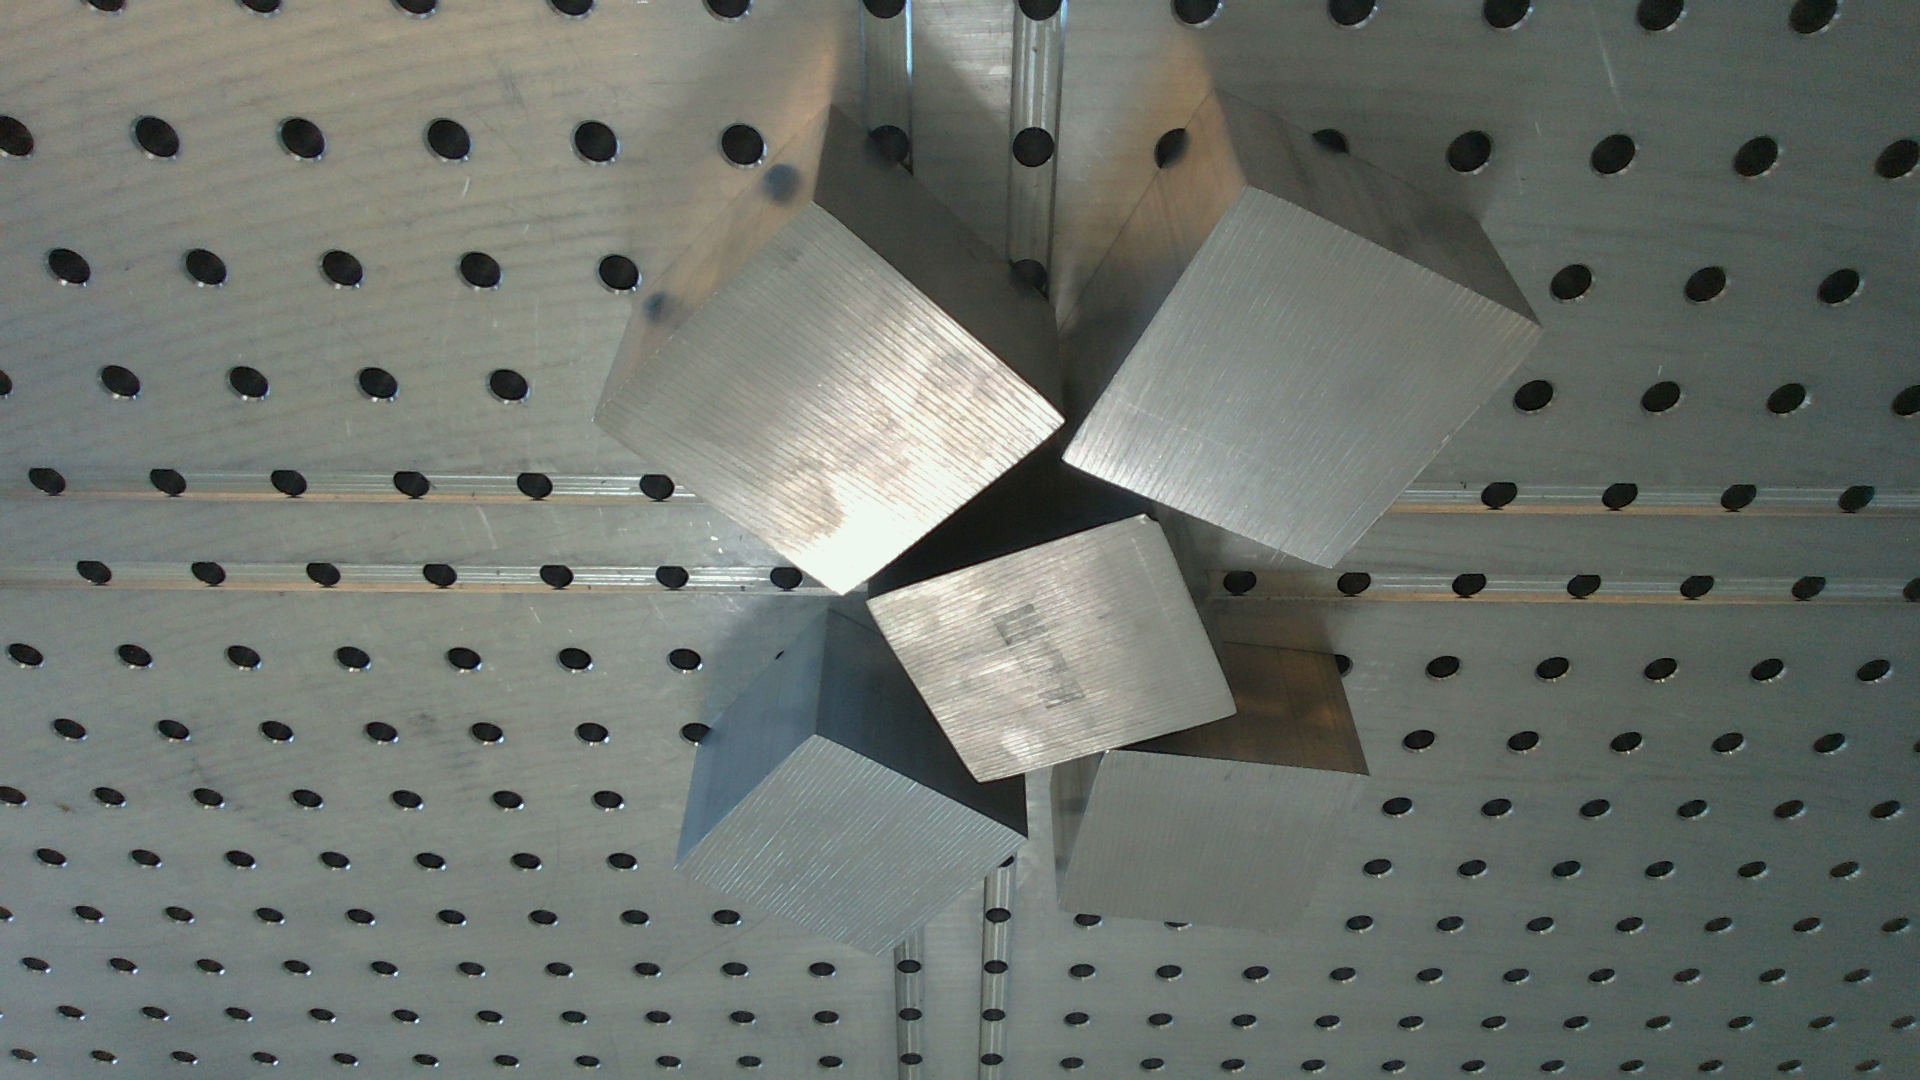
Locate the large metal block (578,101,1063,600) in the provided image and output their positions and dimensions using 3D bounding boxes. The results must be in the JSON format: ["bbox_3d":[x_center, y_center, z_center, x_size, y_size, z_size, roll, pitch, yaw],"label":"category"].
[{"bbox_3d":[-0.032,-0.044,0.340,0.080,0.050,0.080,-37,121,27],"label":"large metal block"}]

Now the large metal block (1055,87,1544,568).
[{"bbox_3d":[0.076,-0.049,0.335,0.080,0.050,0.080,18,128,-19],"label":"large metal block"}]

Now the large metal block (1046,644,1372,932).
[{"bbox_3d":[0.075,0.079,0.444,0.080,0.050,0.080,6,130,-6],"label":"large metal block"}]

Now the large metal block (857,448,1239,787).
[{"bbox_3d":[0.026,0.017,0.390,0.080,0.050,0.080,-18,128,14],"label":"large metal block"}]

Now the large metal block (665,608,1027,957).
[{"bbox_3d":[-0.036,0.080,0.443,0.080,0.050,0.080,31,123,-23],"label":"large metal block"}]
